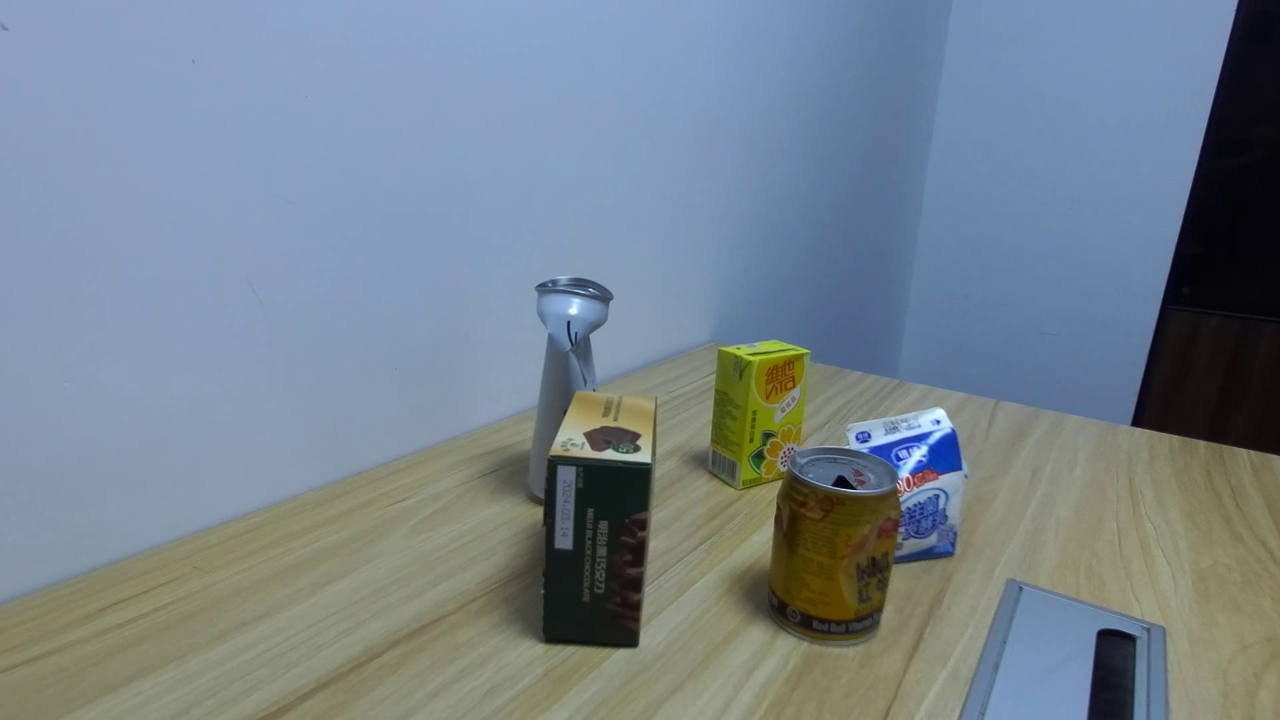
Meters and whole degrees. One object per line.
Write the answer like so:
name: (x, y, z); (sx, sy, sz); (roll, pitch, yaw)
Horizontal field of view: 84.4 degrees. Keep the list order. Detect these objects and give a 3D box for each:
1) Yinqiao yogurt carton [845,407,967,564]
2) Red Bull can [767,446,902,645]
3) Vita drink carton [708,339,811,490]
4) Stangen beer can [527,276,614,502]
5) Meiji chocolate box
Yinqiao yogurt carton: (0.176, 0.079, 0.487); (0.083, 0.093, 0.077); (-1, 16, -15)
Red Bull can: (0.108, 0.102, 0.397); (0.069, 0.092, 0.069); (2, 16, 0)
Vita drink carton: (0.096, 0.042, 0.572); (0.067, 0.109, 0.043); (-8, 19, -32)
Stangen beer can: (-0.051, 0.024, 0.521); (0.066, 0.162, 0.076); (-10, 20, -34)
Meiji chocolate box: (-0.020, 0.086, 0.408); (0.056, 0.109, 0.110); (4, 16, 2)
